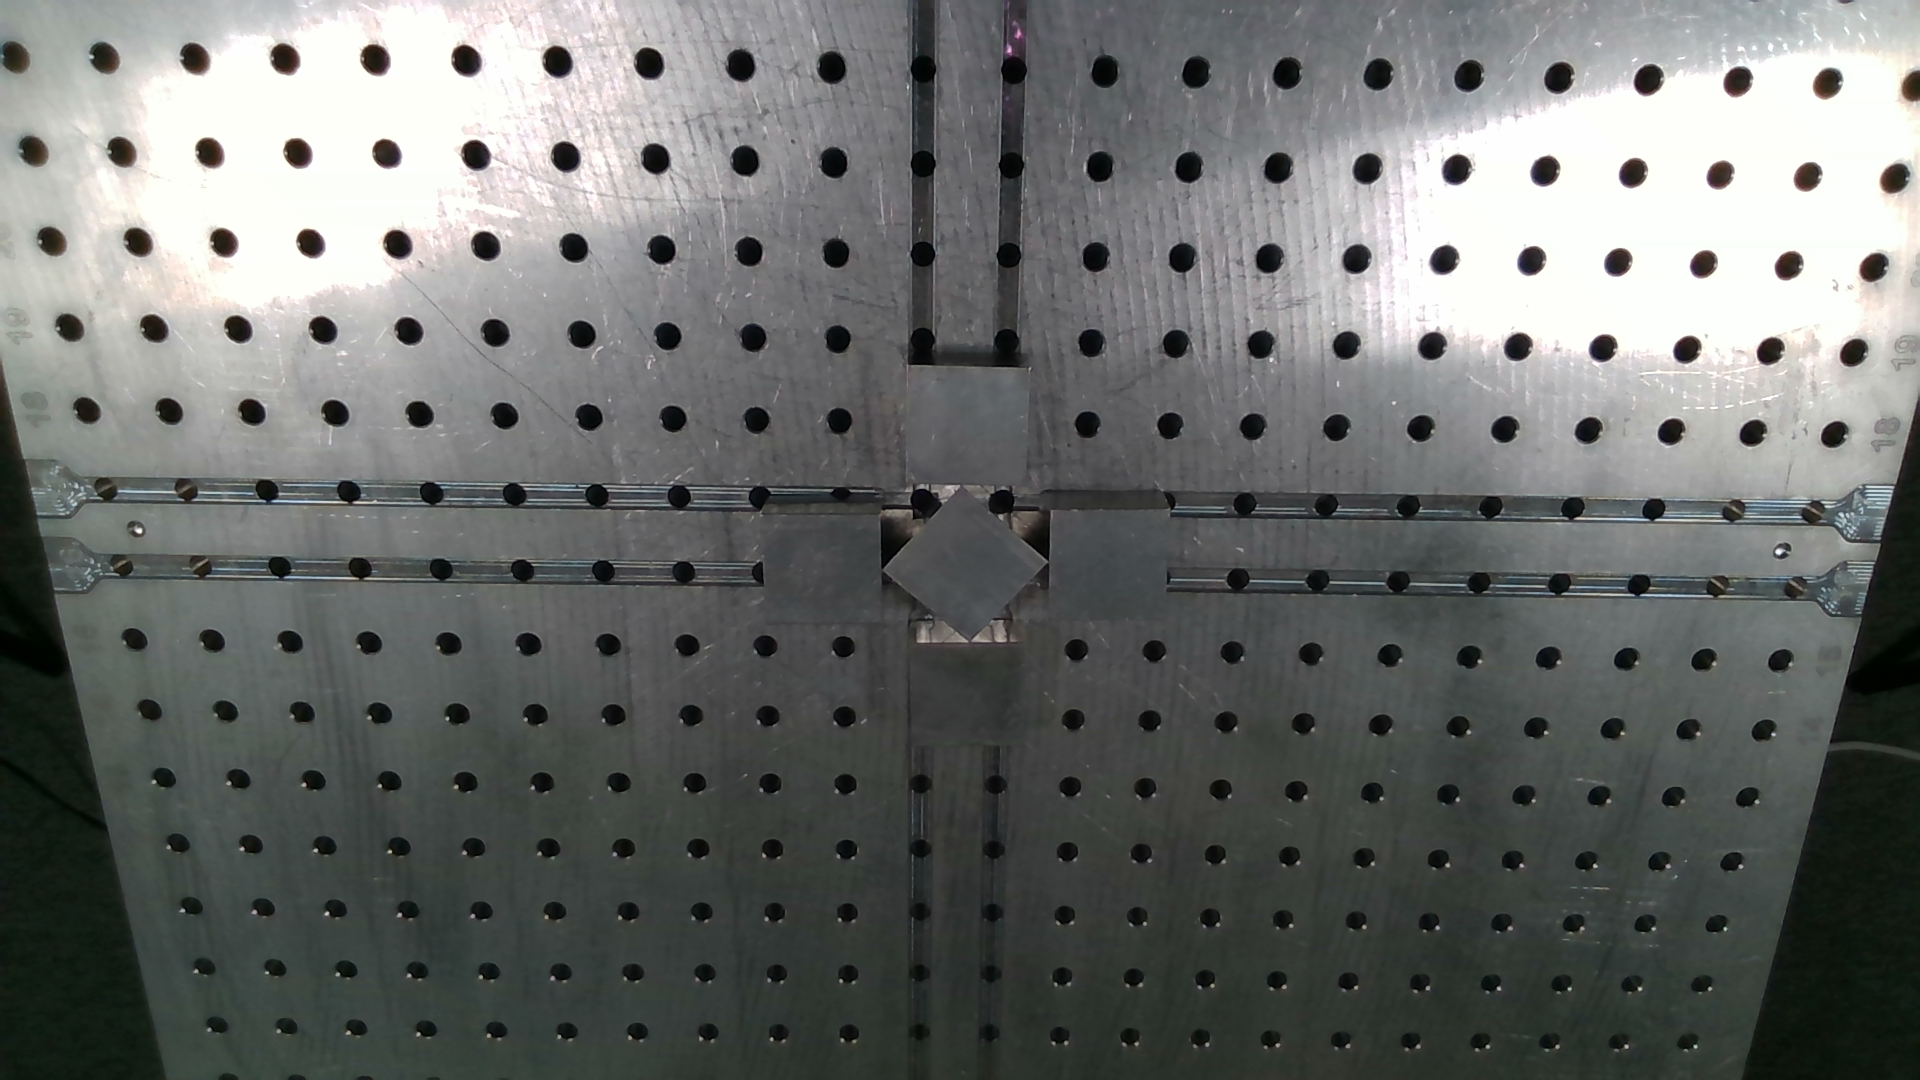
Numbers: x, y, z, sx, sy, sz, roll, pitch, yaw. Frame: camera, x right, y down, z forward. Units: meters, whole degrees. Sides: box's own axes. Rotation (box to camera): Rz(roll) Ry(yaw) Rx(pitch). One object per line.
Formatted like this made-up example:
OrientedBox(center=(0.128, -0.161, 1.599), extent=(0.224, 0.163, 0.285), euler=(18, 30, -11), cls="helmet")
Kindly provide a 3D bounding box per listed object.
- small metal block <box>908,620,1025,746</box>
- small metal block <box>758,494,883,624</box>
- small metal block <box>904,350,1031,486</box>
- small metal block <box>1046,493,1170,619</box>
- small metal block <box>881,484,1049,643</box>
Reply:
OrientedBox(center=(0.003, 0.063, 0.610), extent=(0.050, 0.025, 0.050), euler=(0, 110, 0), cls="small metal block")
OrientedBox(center=(-0.058, 0.008, 0.590), extent=(0.050, 0.025, 0.050), euler=(0, 110, 0), cls="small metal block")
OrientedBox(center=(0.003, -0.051, 0.568), extent=(0.050, 0.025, 0.050), euler=(1, 110, 0), cls="small metal block")
OrientedBox(center=(0.062, 0.006, 0.589), extent=(0.050, 0.025, 0.050), euler=(-1, 110, 0), cls="small metal block")
OrientedBox(center=(0.002, 0.007, 0.589), extent=(0.050, 0.025, 0.050), euler=(40, 105, -13), cls="small metal block")
